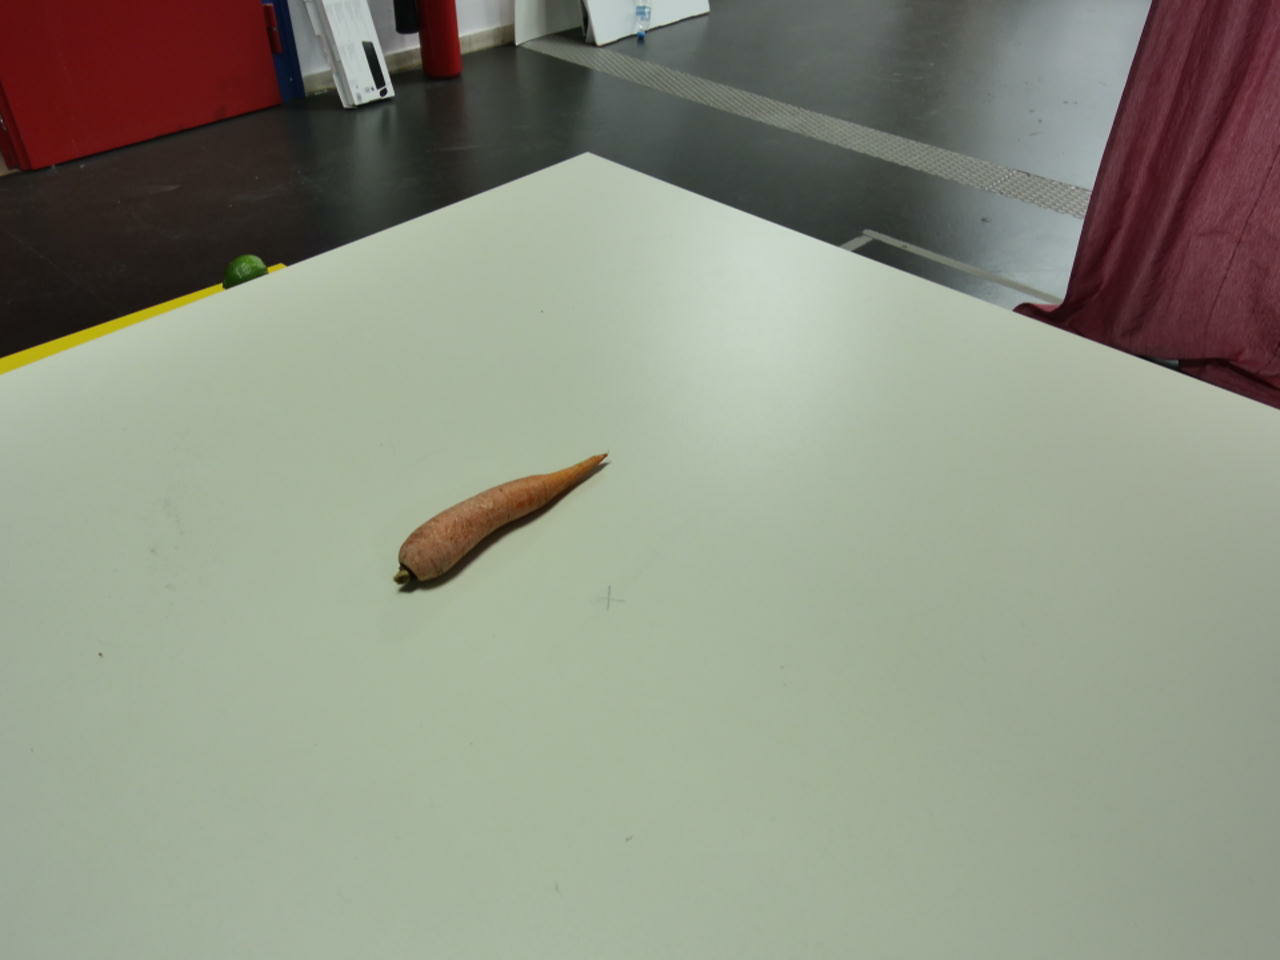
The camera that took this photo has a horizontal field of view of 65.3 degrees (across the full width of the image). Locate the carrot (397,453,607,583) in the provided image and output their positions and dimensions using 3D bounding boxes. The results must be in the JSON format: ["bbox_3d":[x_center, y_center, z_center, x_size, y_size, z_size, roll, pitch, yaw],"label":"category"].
[{"bbox_3d":[-0.080,0.014,0.601,0.031,0.029,0.163,29,46,31],"label":"carrot"}]
